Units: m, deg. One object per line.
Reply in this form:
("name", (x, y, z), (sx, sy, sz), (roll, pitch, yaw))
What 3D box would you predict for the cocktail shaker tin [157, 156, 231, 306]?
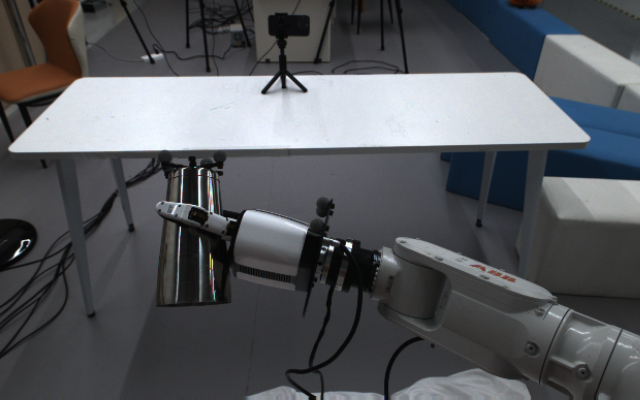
("cocktail shaker tin", (-0.163, 0.049, 0.623), (0.093, 0.093, 0.170), (-3, 76, -7))
